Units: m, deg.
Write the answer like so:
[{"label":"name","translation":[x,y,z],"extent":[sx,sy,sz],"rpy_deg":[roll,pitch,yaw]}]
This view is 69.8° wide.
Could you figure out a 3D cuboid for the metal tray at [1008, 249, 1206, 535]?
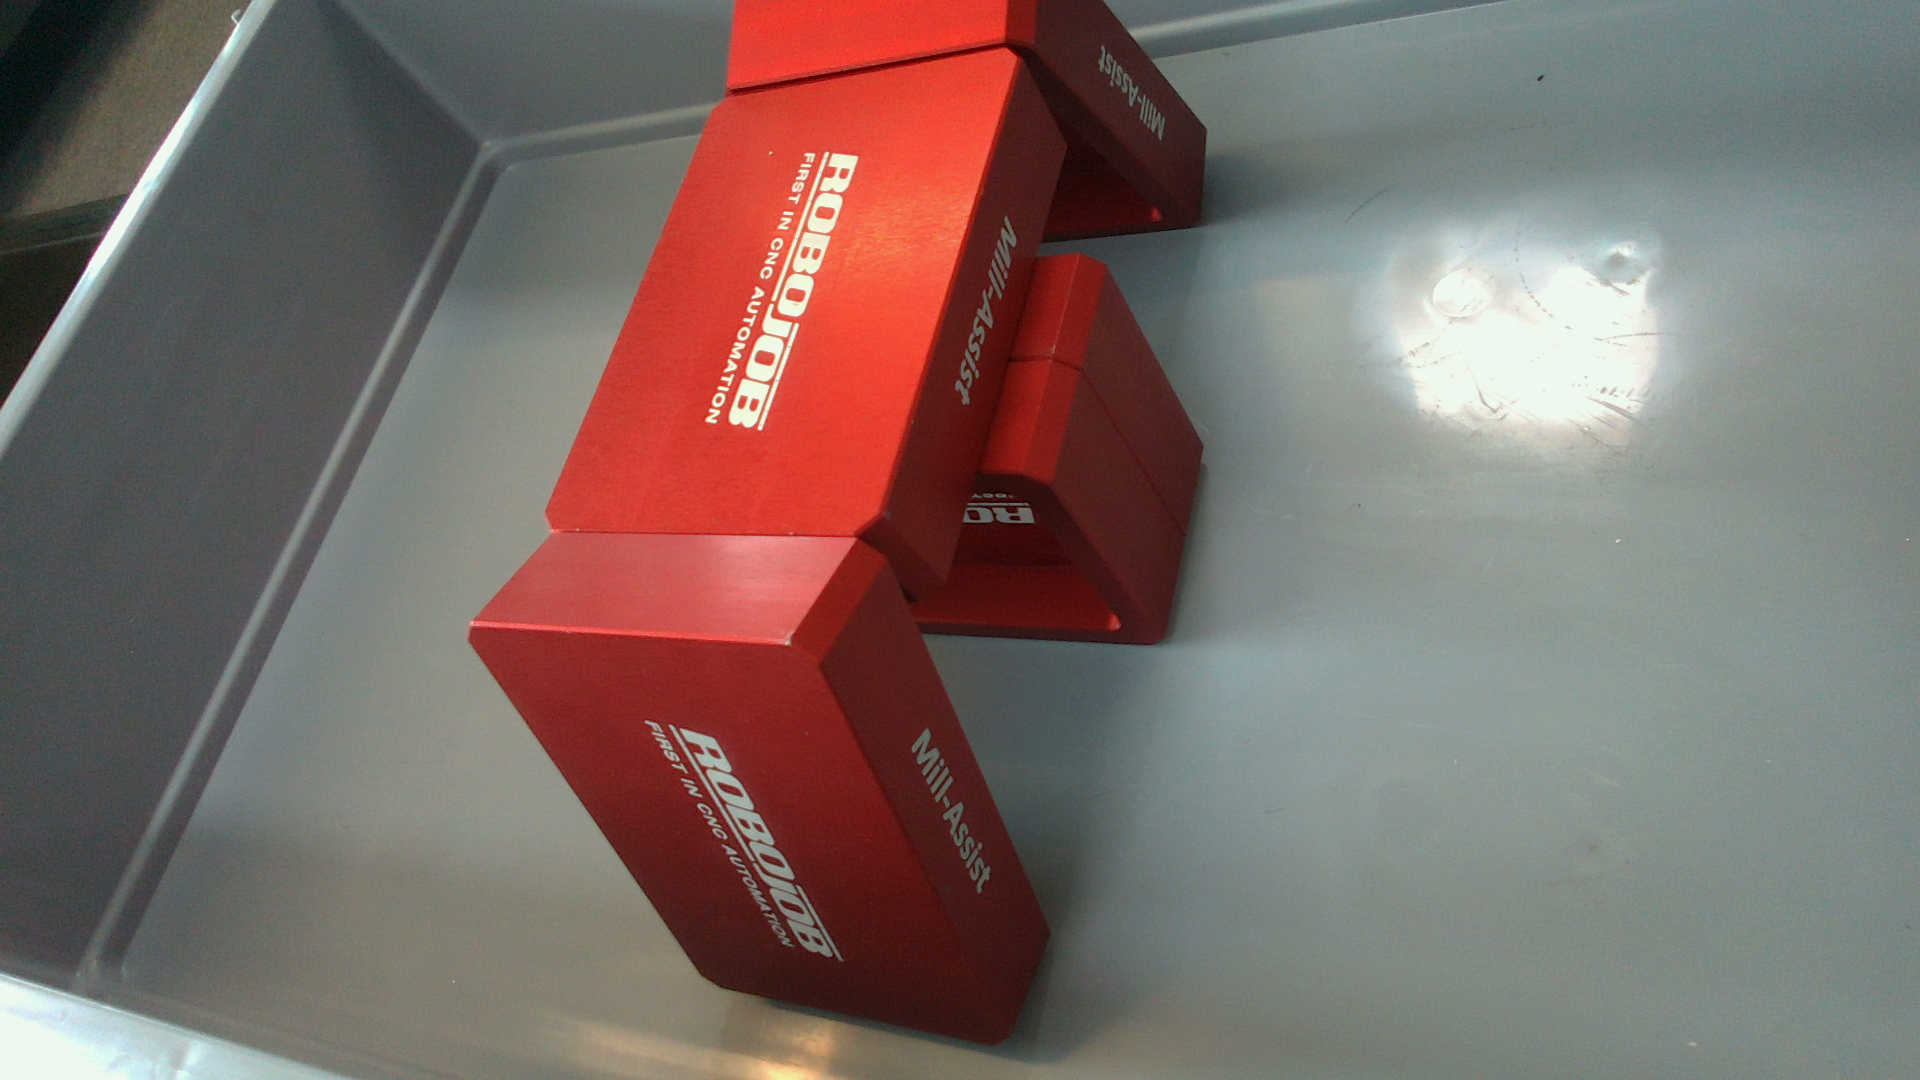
[{"label":"metal tray","translation":[-0.009,-0.034,0.377],"extent":[0.130,0.090,0.030],"rpy_deg":[1,62,29]}]

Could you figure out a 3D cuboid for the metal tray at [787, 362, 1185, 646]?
[{"label":"metal tray","translation":[-0.017,-0.006,0.364],"extent":[0.130,0.090,0.030],"rpy_deg":[1,62,29]}]

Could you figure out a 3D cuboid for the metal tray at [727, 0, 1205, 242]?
[{"label":"metal tray","translation":[0.008,-0.122,0.395],"extent":[0.090,0.130,0.030],"rpy_deg":[1,82,29]}]

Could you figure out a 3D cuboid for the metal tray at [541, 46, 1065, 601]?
[{"label":"metal tray","translation":[-0.034,-0.052,0.322],"extent":[0.090,0.030,0.130],"rpy_deg":[1,62,28]}]

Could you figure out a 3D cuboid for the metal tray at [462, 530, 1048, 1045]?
[{"label":"metal tray","translation":[-0.041,0.057,0.310],"extent":[0.090,0.130,0.030],"rpy_deg":[1,40,28]}]
